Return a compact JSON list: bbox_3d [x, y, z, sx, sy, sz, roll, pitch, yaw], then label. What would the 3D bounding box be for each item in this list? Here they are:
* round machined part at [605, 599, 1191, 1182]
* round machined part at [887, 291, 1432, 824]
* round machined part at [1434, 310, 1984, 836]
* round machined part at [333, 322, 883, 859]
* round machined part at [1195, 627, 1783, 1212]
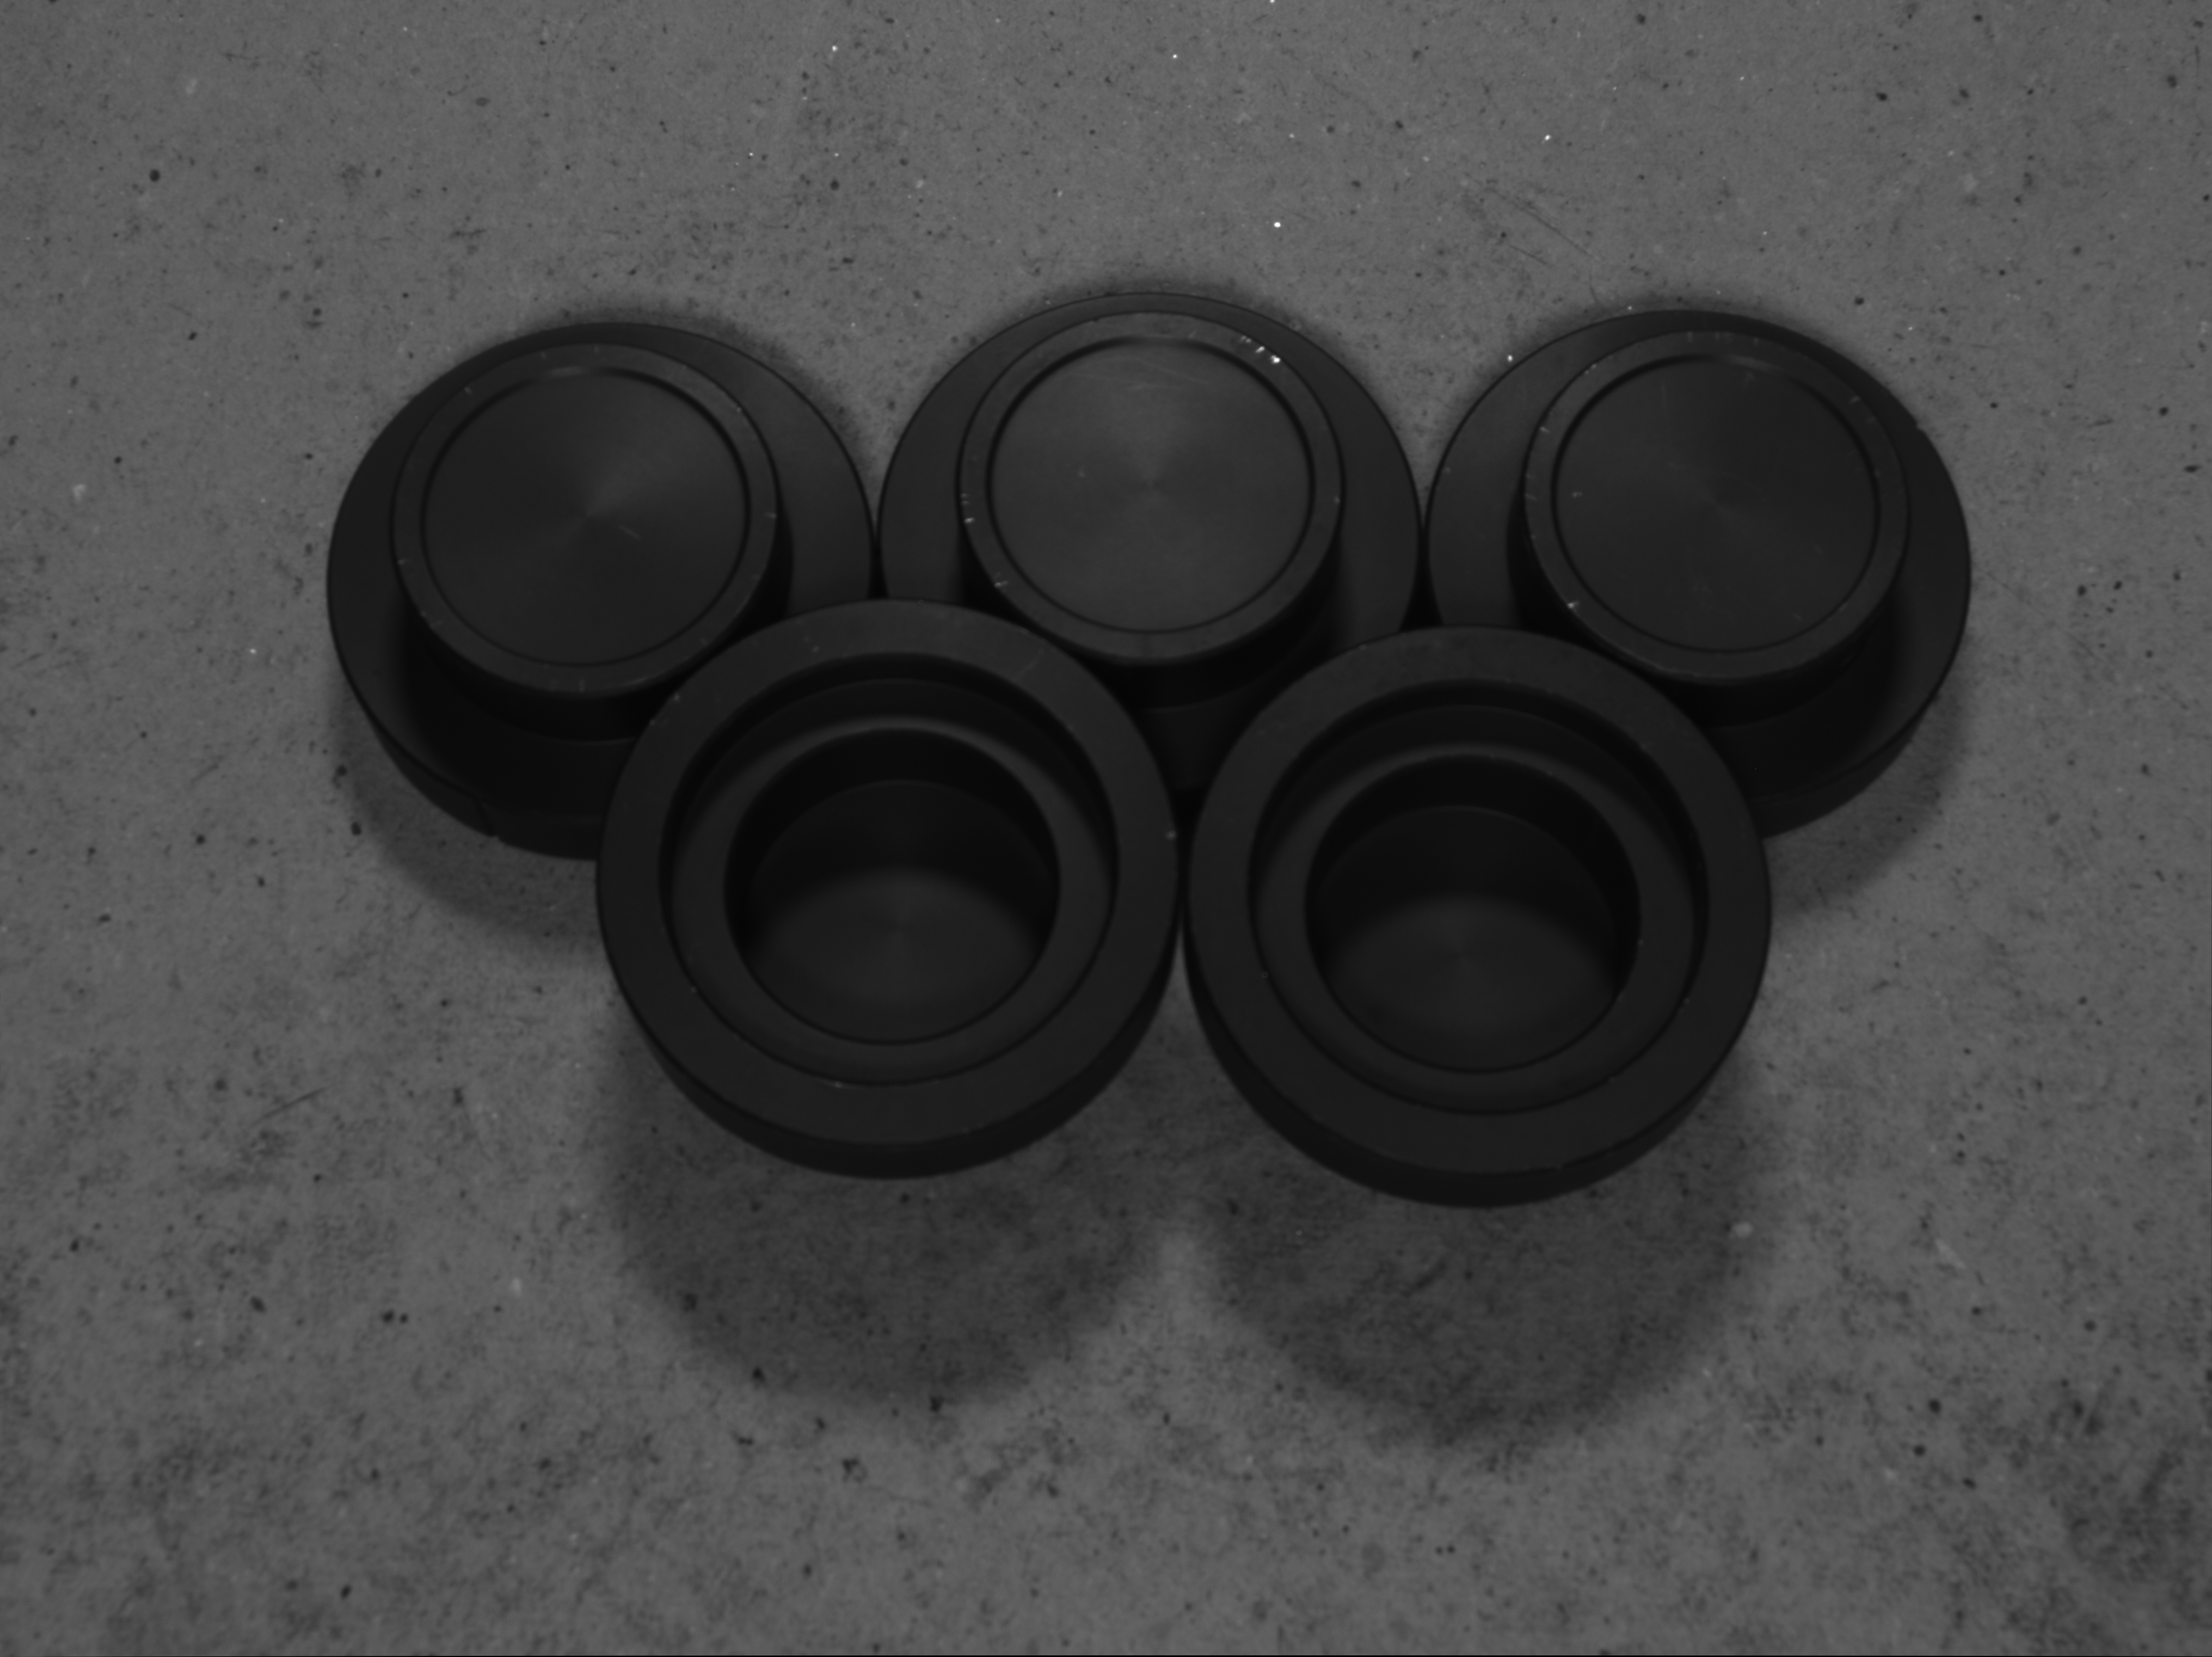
[{"bbox_3d":[-0.035,0.013,0.631,0.098,0.042,0.098,0,70,0],"label":"round machined part"},{"bbox_3d":[0.010,-0.053,0.656,0.098,0.042,0.098,0,70,0],"label":"round machined part"},{"bbox_3d":[0.108,-0.050,0.654,0.098,0.042,0.098,0,70,0],"label":"round machined part"},{"bbox_3d":[-0.089,-0.047,0.653,0.098,0.042,0.098,0,70,0],"label":"round machined part"},{"bbox_3d":[0.064,0.018,0.629,0.098,0.042,0.098,0,70,0],"label":"round machined part"}]
